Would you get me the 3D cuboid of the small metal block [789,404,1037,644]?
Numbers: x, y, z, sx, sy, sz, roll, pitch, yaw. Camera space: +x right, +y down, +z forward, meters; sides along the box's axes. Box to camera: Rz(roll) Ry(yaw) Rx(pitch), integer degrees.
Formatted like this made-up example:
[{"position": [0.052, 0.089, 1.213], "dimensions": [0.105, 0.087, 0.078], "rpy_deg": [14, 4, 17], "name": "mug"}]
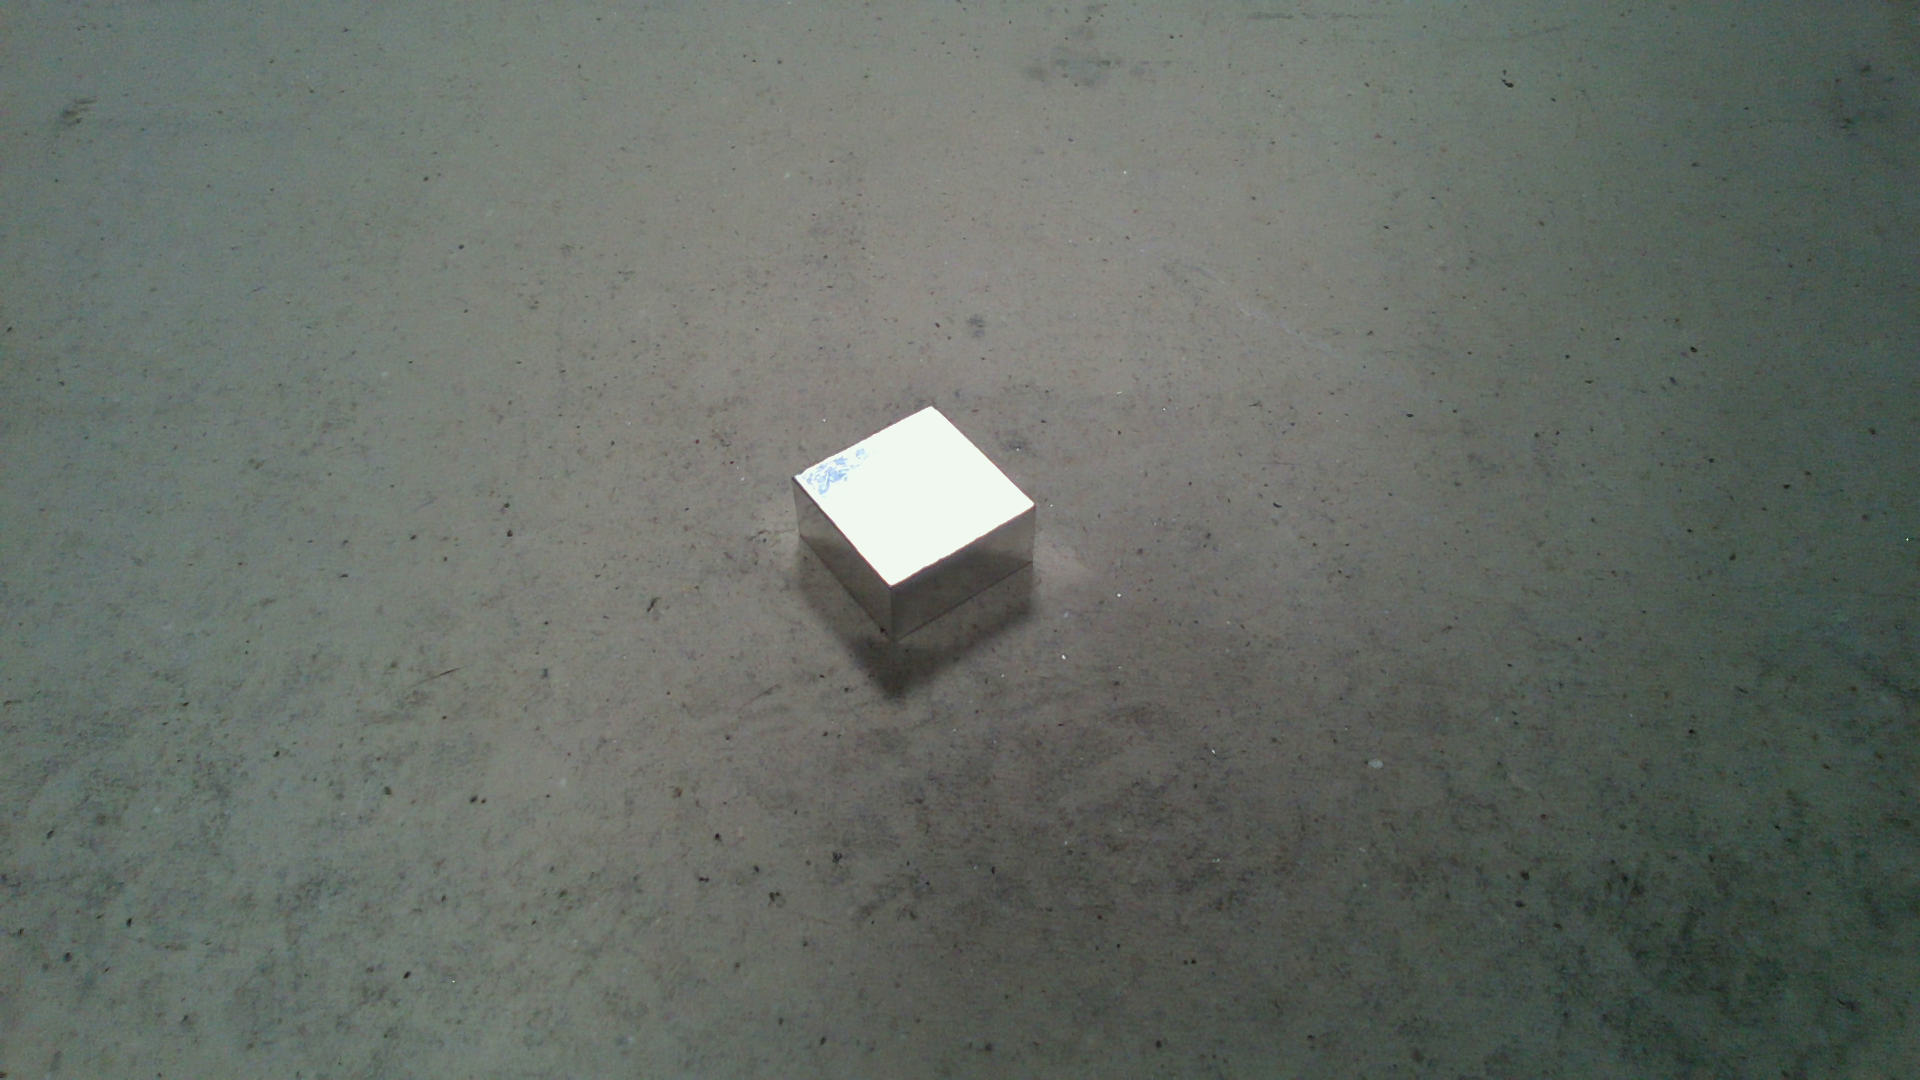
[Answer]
[{"position": [-0.013, -0.006, 0.397], "dimensions": [0.050, 0.025, 0.050], "rpy_deg": [-30, 56, -23], "name": "small metal block"}]
